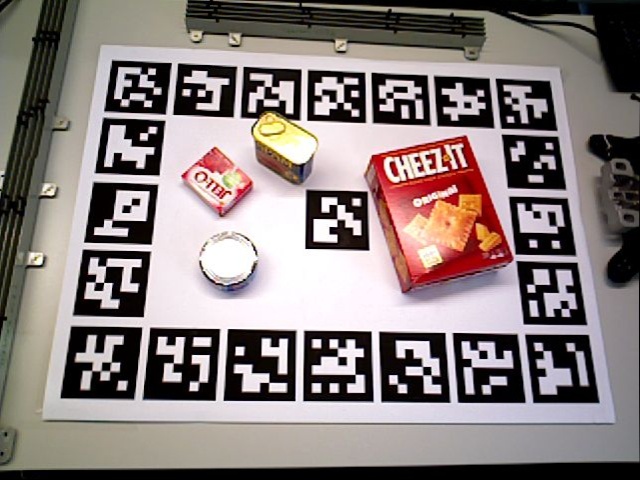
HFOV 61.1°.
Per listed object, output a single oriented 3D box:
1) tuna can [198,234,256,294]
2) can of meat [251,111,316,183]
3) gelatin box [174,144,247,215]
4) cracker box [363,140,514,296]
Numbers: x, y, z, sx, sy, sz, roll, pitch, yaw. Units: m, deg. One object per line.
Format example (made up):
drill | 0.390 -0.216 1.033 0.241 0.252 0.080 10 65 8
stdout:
tuna can | -0.138 0.037 0.812 0.085 0.034 0.085 1 74 -3
can of meat | -0.060 -0.144 0.864 0.102 0.085 0.057 30 70 7
gelatin box | -0.172 -0.097 0.859 0.089 0.030 0.072 42 70 7
cracker box | 0.181 -0.038 0.850 0.162 0.073 0.212 -14 71 -11
